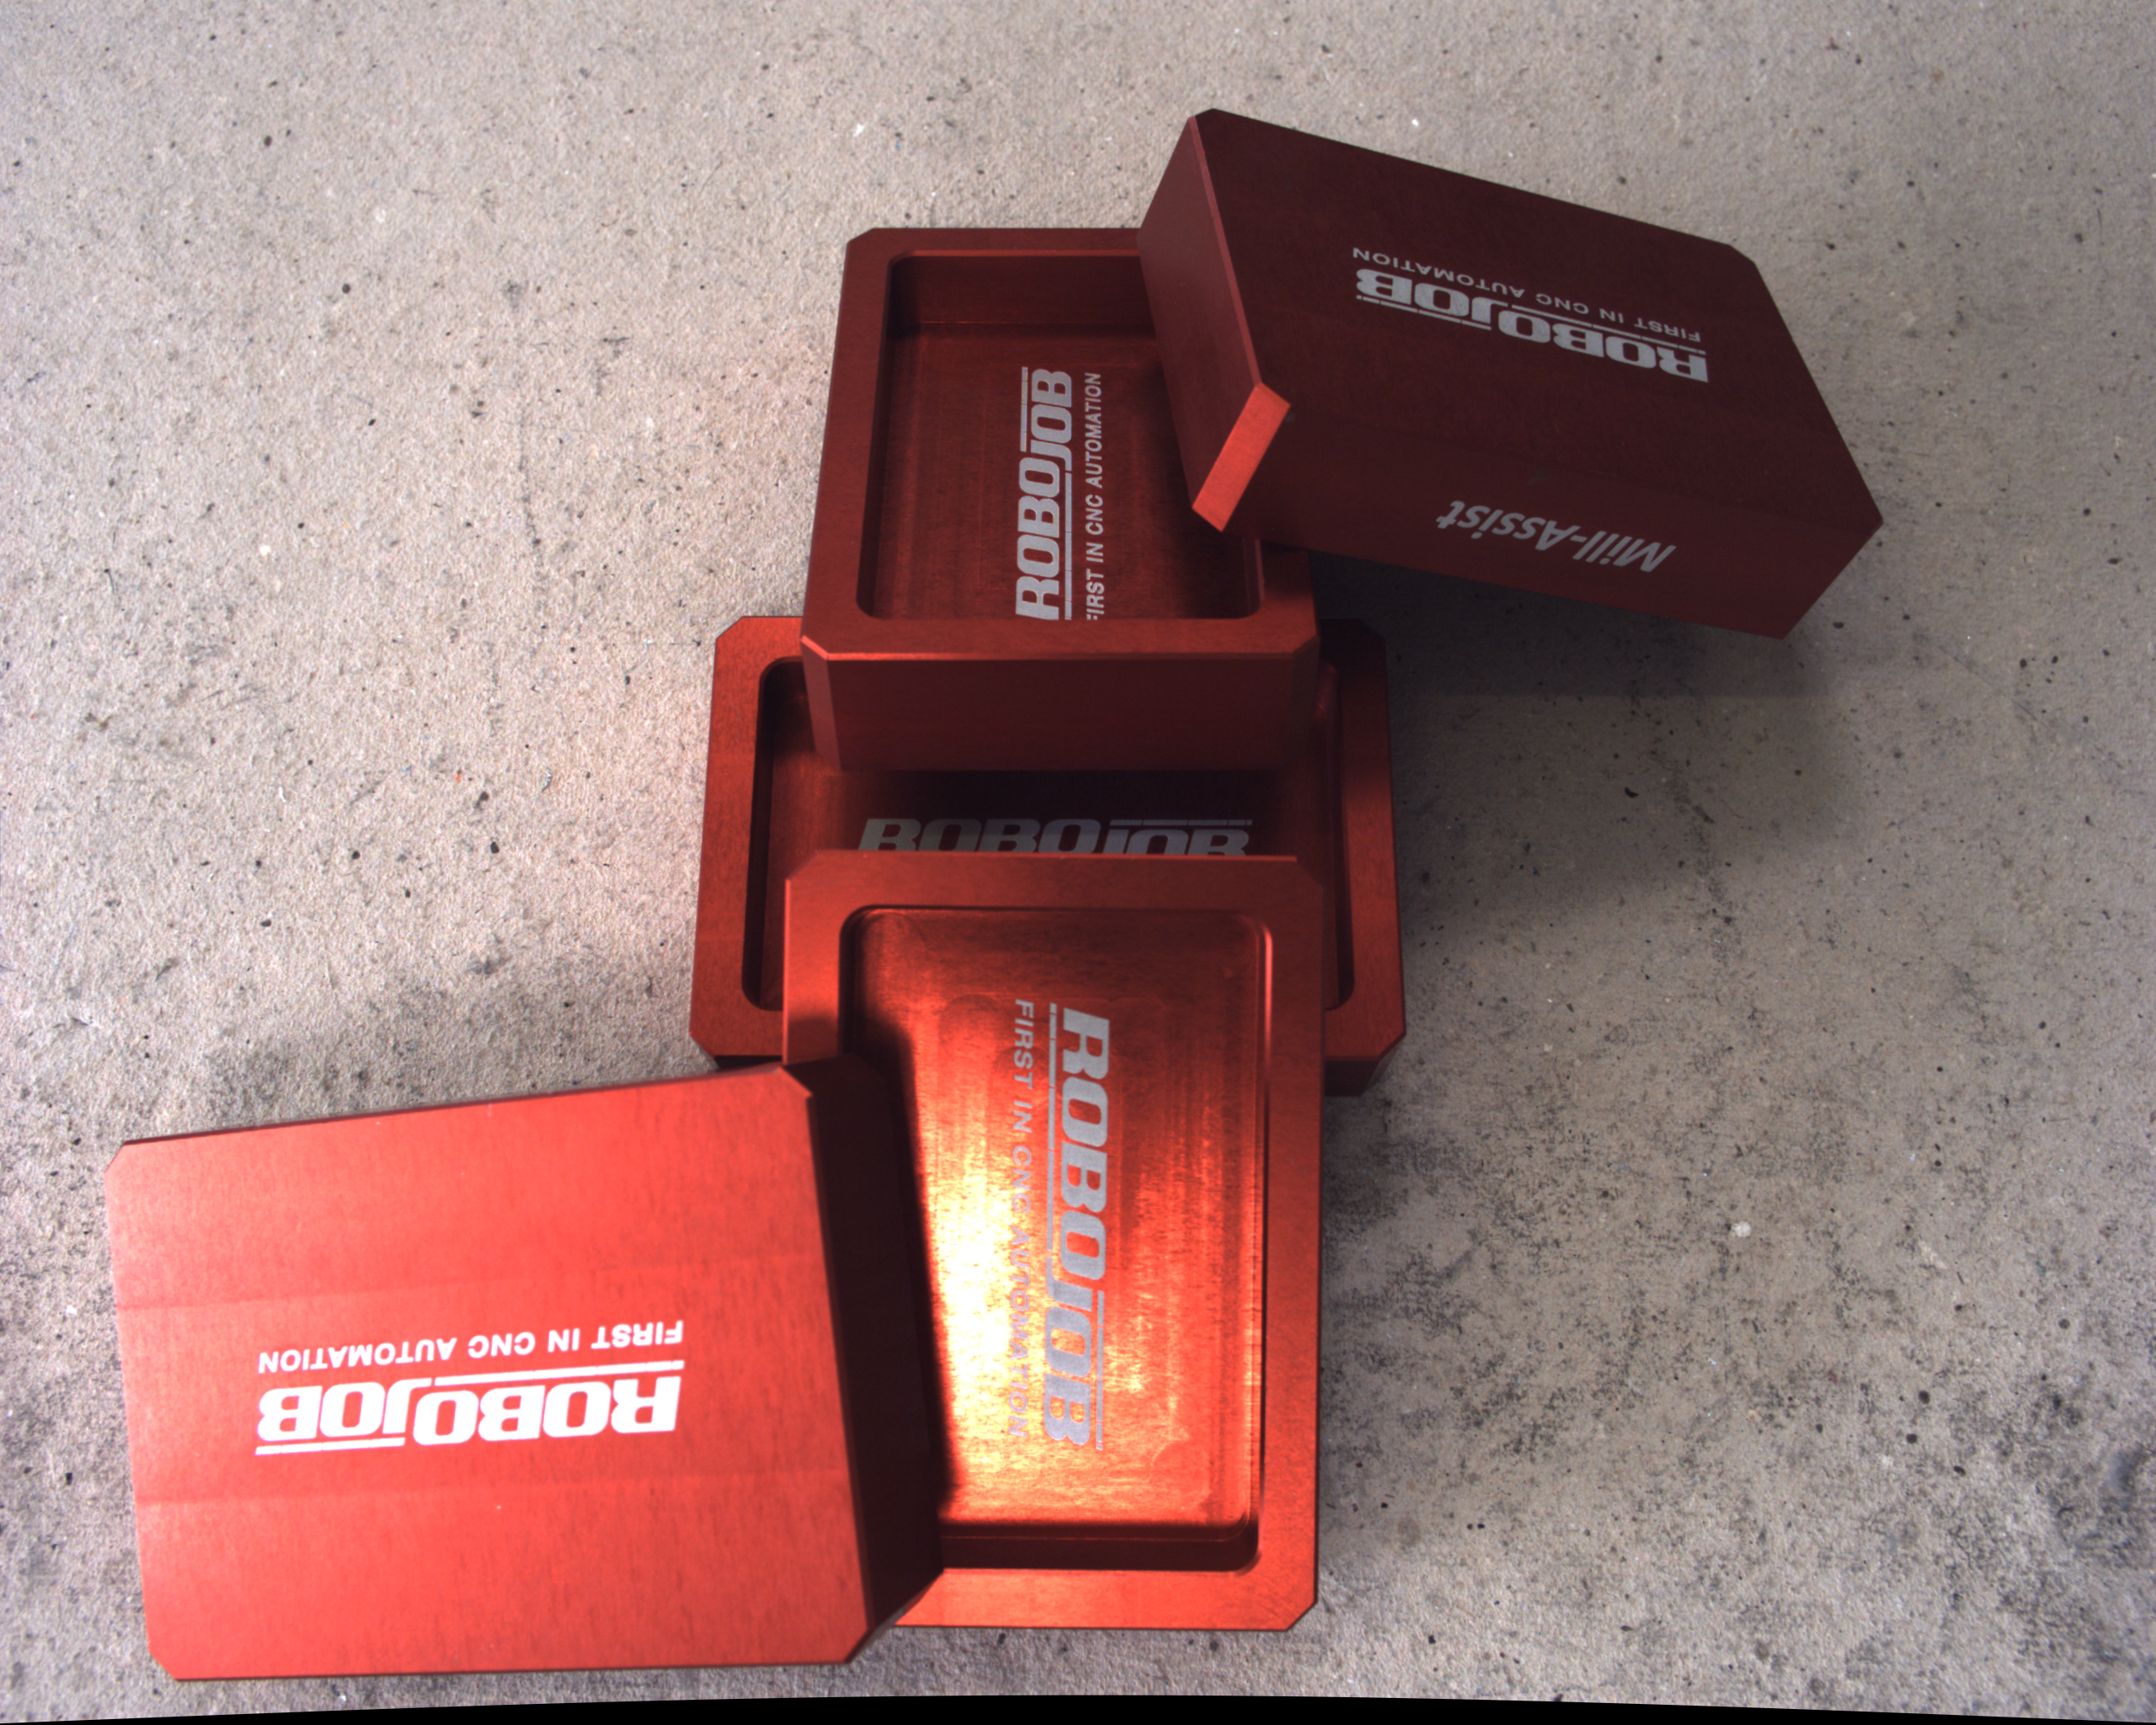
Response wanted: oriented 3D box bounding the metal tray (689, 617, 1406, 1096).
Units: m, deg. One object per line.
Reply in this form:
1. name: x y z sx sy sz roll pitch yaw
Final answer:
1. metal tray: -0.005 -0.001 0.407 0.131 0.030 0.090 0 70 0

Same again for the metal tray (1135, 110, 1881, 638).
1. metal tray: 0.082 -0.095 0.408 0.131 0.030 0.090 8 49 -19

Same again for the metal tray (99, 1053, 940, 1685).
1. metal tray: -0.093 0.083 0.344 0.130 0.030 0.089 -8 86 15

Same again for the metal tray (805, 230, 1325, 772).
1. metal tray: -0.003 -0.075 0.413 0.091 0.030 0.130 0 50 -1

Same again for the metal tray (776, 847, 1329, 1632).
1. metal tray: -0.004 0.063 0.362 0.091 0.030 0.129 1 89 0
